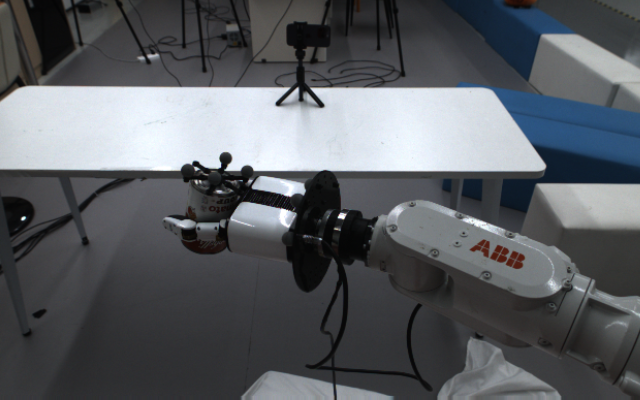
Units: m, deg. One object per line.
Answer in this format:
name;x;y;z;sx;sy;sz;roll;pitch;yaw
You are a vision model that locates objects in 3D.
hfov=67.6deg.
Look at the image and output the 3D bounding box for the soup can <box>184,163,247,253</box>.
soup can;-0.151;0.016;0.668;0.067;0.101;0.067;14;31;-8
